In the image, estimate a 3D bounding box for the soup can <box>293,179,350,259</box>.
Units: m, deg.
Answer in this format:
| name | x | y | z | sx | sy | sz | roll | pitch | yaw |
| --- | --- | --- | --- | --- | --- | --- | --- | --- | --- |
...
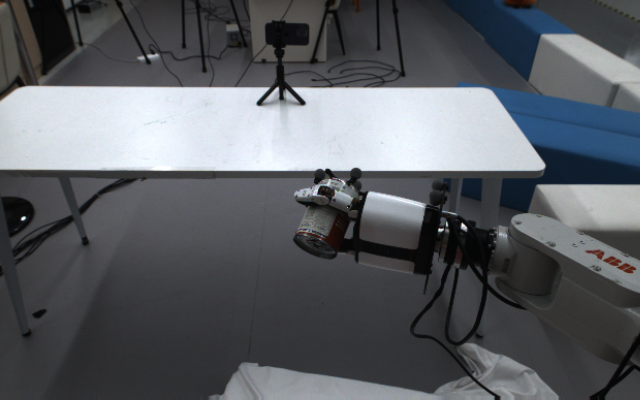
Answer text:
| name | x | y | z | sx | sy | sz | roll | pitch | yaw |
| --- | --- | --- | --- | --- | --- | --- | --- | --- | --- |
| soup can | 0.012 | 0.026 | 0.708 | 0.067 | 0.067 | 0.101 | 15 | 63 | 18 |
